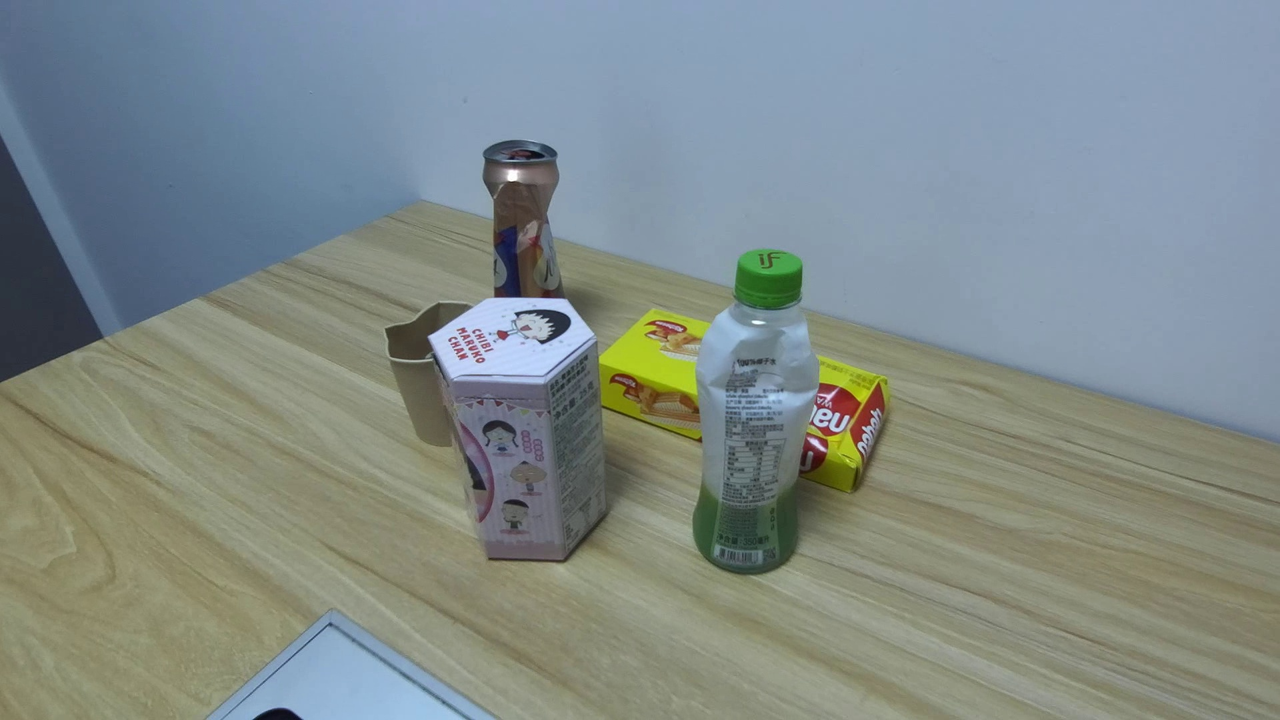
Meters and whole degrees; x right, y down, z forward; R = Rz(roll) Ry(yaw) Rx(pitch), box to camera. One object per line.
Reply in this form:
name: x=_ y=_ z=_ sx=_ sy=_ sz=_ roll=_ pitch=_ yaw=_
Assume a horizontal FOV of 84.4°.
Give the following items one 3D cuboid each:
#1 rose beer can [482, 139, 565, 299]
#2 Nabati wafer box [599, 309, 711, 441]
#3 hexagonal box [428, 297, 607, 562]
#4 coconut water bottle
rose beer can: x=-0.088 y=-0.087 z=0.573 sx=0.065 sy=0.167 sz=0.076 roll=8 pitch=33 yaw=8
Nabati wafer box: x=0.077 y=0.023 z=0.528 sx=0.202 sy=0.042 sz=0.097 roll=18 pitch=37 yaw=24
hexagonal box: x=-0.067 y=0.042 z=0.412 sx=0.084 sy=0.136 sz=0.091 roll=-17 pitch=38 yaw=-22
coconut water bottle: x=0.063 y=0.031 z=0.379 sx=0.067 sy=0.187 sz=0.067 roll=-1 pitch=34 yaw=1
